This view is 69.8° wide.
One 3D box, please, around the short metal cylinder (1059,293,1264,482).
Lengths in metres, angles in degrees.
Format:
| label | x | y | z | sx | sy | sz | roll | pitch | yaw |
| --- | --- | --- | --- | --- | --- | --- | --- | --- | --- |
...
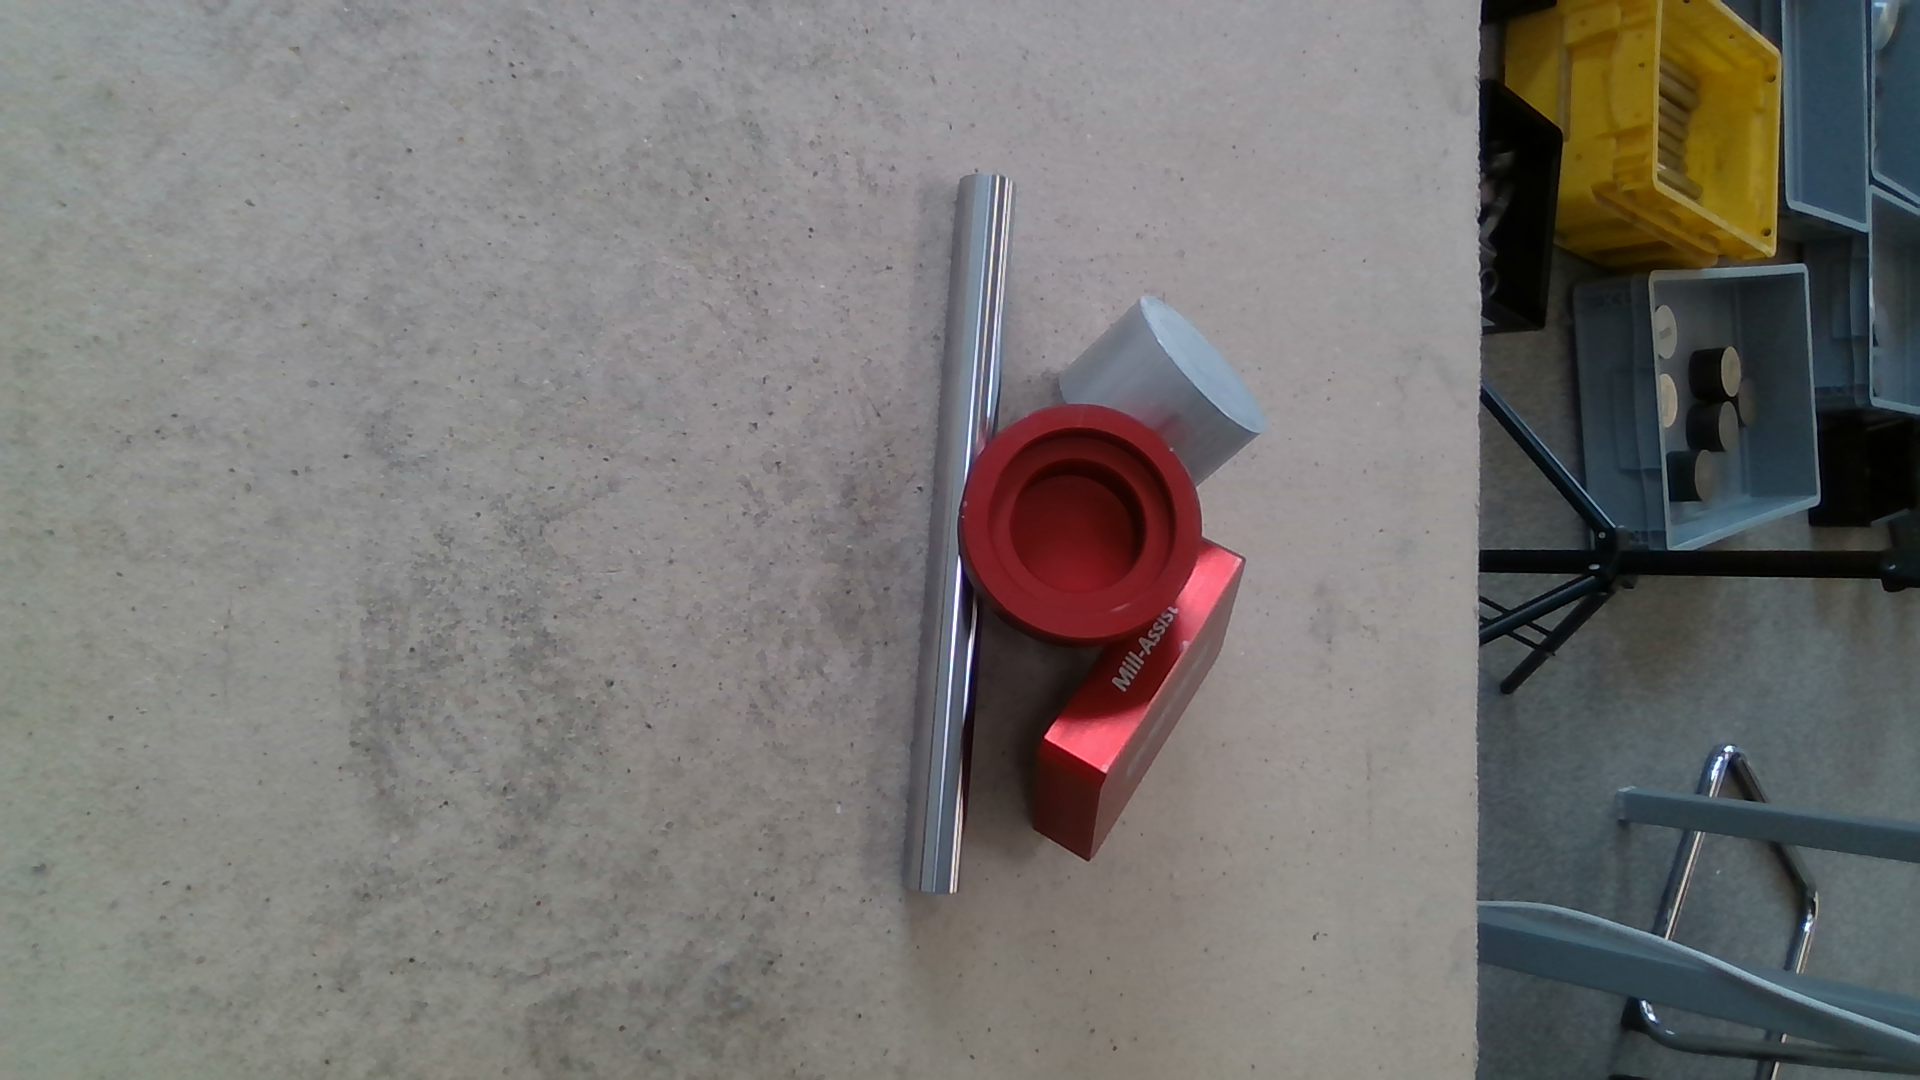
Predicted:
| label | x | y | z | sx | sy | sz | roll | pitch | yaw |
| --- | --- | --- | --- | --- | --- | --- | --- | --- | --- |
| short metal cylinder | 0.090 | -0.064 | 0.618 | 0.080 | 0.050 | 0.080 | 37 | 26 | -22 |

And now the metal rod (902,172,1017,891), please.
| label | x | y | z | sx | sy | sz | roll | pitch | yaw |
| --- | --- | --- | --- | --- | --- | --- | --- | --- | --- |
| metal rod | 0.000 | -0.005 | 0.584 | 0.025 | 0.025 | 0.300 | 8 | 85 | -40 |

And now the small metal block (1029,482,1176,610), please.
| label | x | y | z | sx | sy | sz | roll | pitch | yaw |
| --- | --- | --- | --- | --- | --- | --- | --- | --- | --- |
| small metal block | 0.064 | 0.003 | 0.619 | 0.025 | 0.050 | 0.050 | 30 | 71 | -36 |

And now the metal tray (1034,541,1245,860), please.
| label | x | y | z | sx | sy | sz | roll | pitch | yaw |
| --- | --- | --- | --- | --- | --- | --- | --- | --- | --- |
| metal tray | 0.080 | 0.069 | 0.615 | 0.130 | 0.030 | 0.090 | -52 | 159 | -27 |

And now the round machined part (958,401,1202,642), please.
| label | x | y | z | sx | sy | sz | roll | pitch | yaw |
| --- | --- | --- | --- | --- | --- | --- | --- | --- | --- |
| round machined part | 0.047 | -0.005 | 0.572 | 0.098 | 0.042 | 0.098 | 1 | 78 | -5 |
